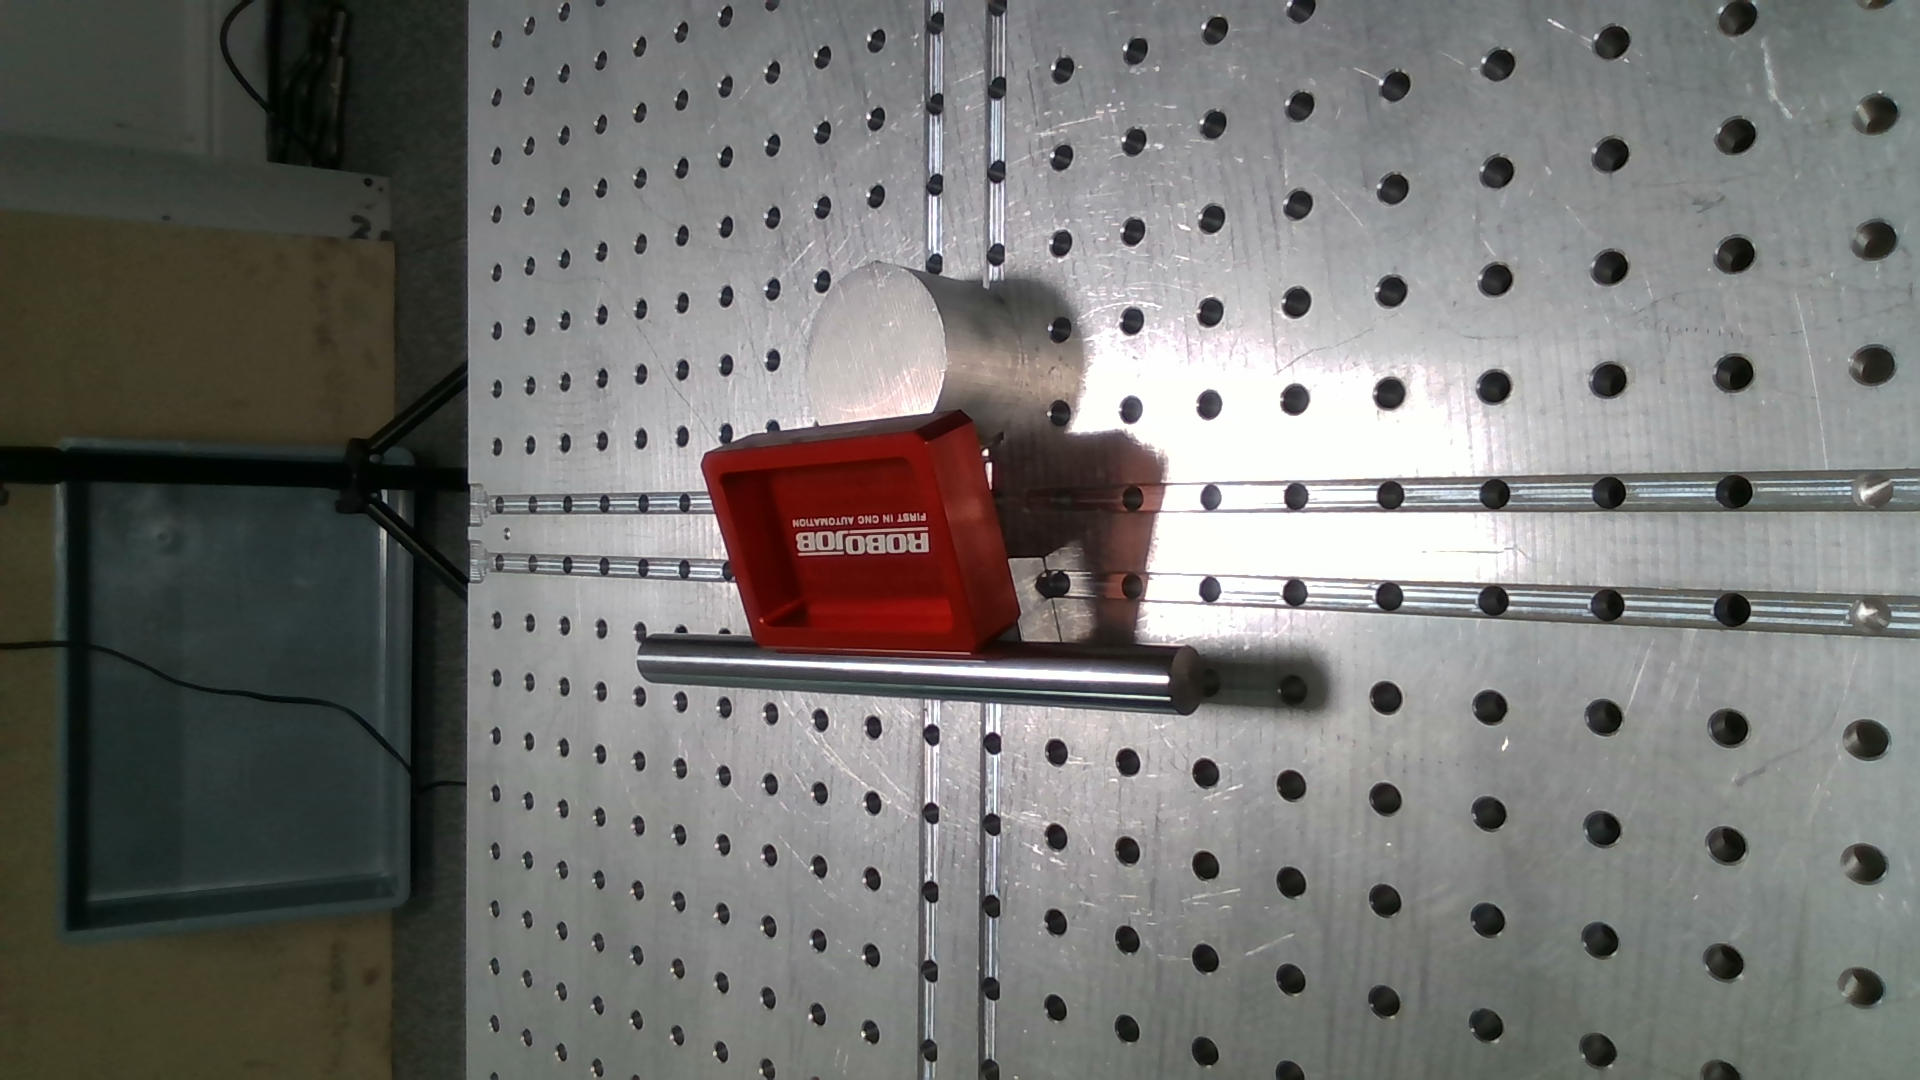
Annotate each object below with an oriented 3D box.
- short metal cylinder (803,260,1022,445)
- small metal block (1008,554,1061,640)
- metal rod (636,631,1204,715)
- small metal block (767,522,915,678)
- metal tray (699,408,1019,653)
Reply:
[{"bbox_3d":[-0.021,-0.075,0.584,0.080,0.050,0.080,0,91,40],"label":"short metal cylinder"},{"bbox_3d":[0.013,0.037,0.575,0.050,0.025,0.050,-19,78,39],"label":"small metal block"},{"bbox_3d":[-0.035,0.053,0.582,0.300,0.025,0.025,-2,89,40],"label":"metal rod"},{"bbox_3d":[-0.055,0.027,0.631,0.050,0.025,0.050,46,118,30],"label":"small metal block"},{"bbox_3d":[-0.044,-0.002,0.567,0.130,0.030,0.090,-2,109,40],"label":"metal tray"}]
